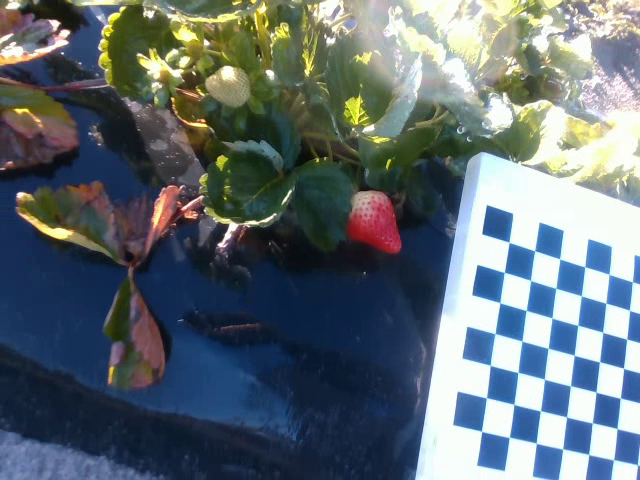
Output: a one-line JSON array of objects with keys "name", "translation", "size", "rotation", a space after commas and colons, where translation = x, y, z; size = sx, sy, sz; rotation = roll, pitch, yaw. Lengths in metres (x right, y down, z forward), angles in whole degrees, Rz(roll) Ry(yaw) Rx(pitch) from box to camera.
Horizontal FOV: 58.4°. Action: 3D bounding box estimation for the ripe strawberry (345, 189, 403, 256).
[{"name": "ripe strawberry", "translation": [0.046, -0.012, 0.461], "size": [0.040, 0.065, 0.040], "rotation": [-35, 2, -22]}]
